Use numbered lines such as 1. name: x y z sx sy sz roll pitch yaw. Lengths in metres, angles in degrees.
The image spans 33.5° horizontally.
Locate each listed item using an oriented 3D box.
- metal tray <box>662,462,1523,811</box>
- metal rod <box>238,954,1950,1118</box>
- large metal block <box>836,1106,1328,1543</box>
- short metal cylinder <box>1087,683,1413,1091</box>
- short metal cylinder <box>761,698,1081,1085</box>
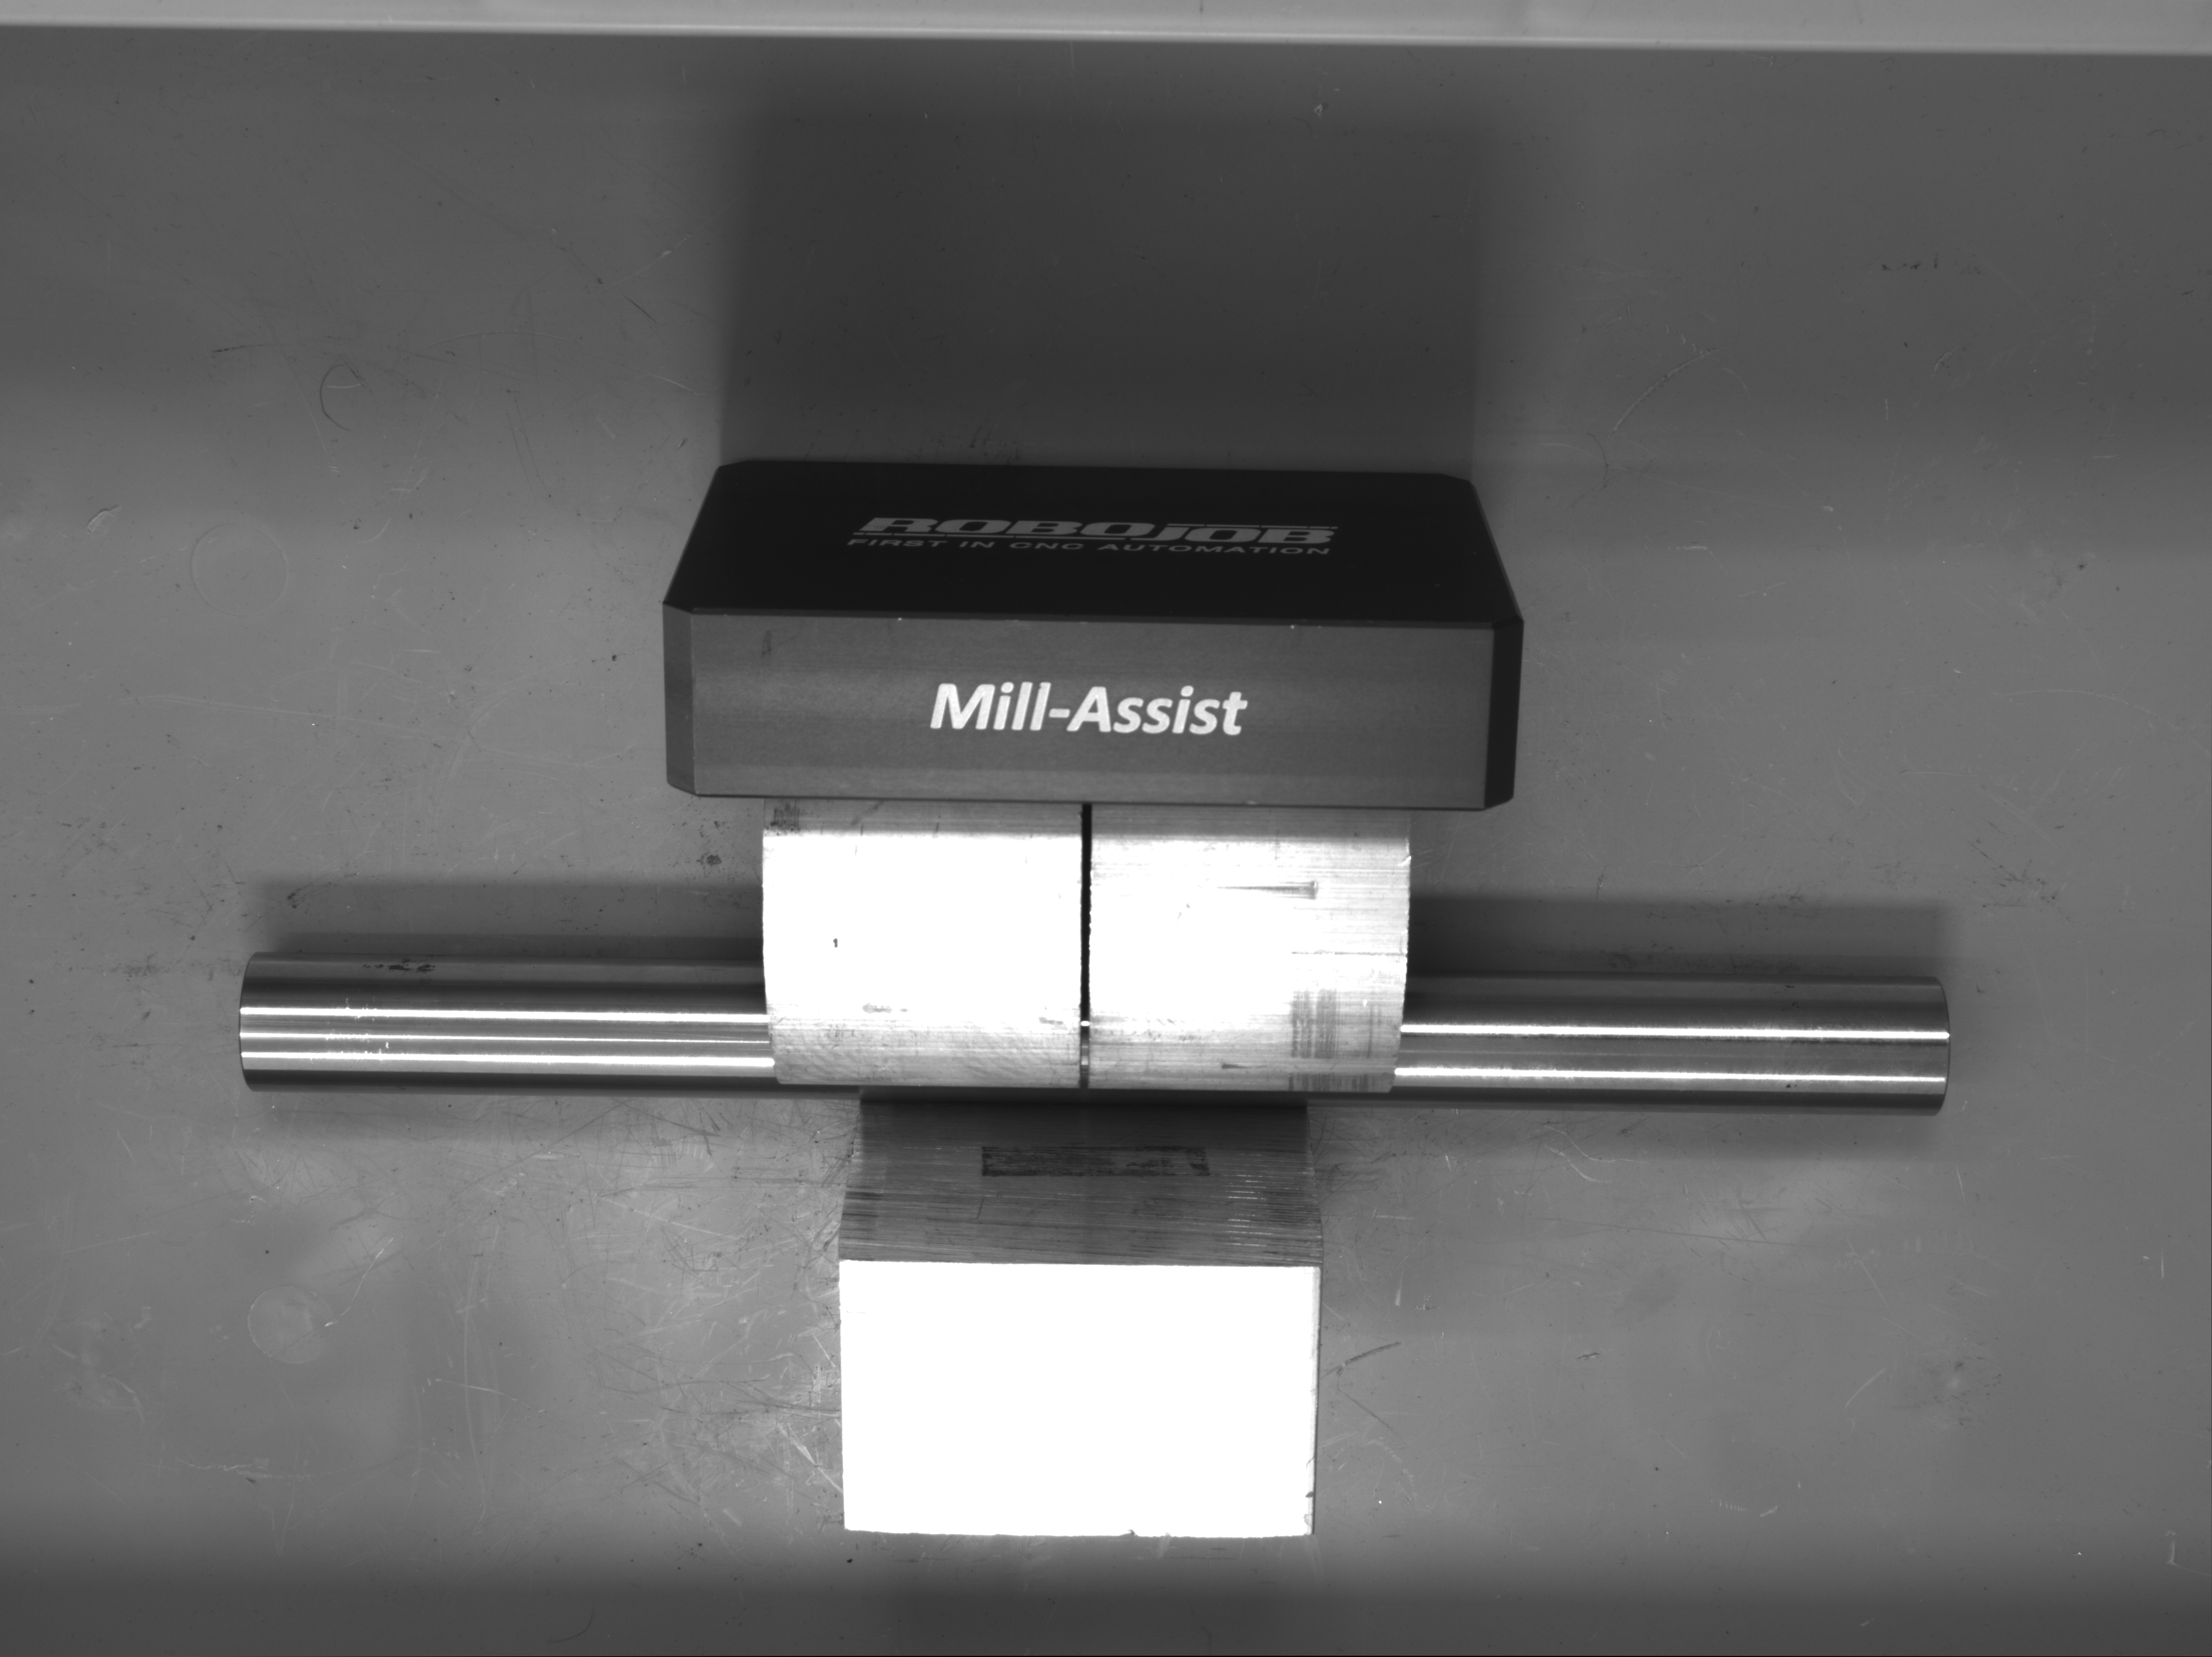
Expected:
1. metal tray: -0.002 -0.033 0.596 0.130 0.090 0.030 1 110 0
2. metal rod: -0.002 0.037 0.656 0.300 0.025 0.025 1 110 0
3. large metal block: -0.004 0.082 0.643 0.080 0.080 0.050 1 110 0
4. short metal cylinder: 0.023 0.003 0.616 0.050 0.080 0.080 1 110 0
5. short metal cylinder: -0.029 0.003 0.616 0.050 0.080 0.080 1 110 0
